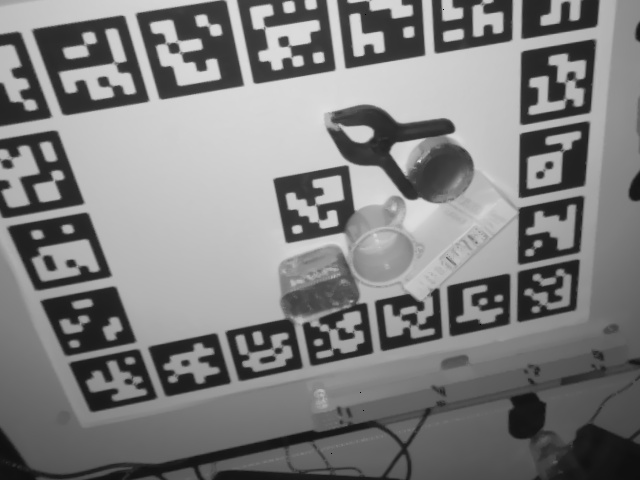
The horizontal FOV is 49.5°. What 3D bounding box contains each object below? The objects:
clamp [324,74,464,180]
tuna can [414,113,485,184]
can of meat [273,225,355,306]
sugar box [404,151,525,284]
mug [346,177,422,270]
[{"bbox_3d":[0.079,-0.154,0.856,0.166,0.037,0.120,24,116,-15],"label":"clamp"},{"bbox_3d":[0.164,-0.117,0.882,0.086,0.034,0.085,-4,116,-7],"label":"tuna can"},{"bbox_3d":[-0.011,0.031,0.911,0.102,0.084,0.057,-17,120,2],"label":"can of meat"},{"bbox_3d":[0.175,-0.030,0.903,0.045,0.093,0.175,39,107,-25],"label":"sugar box"},{"bbox_3d":[0.082,-0.026,0.887,0.094,0.082,0.116,13,113,-14],"label":"mug"}]
